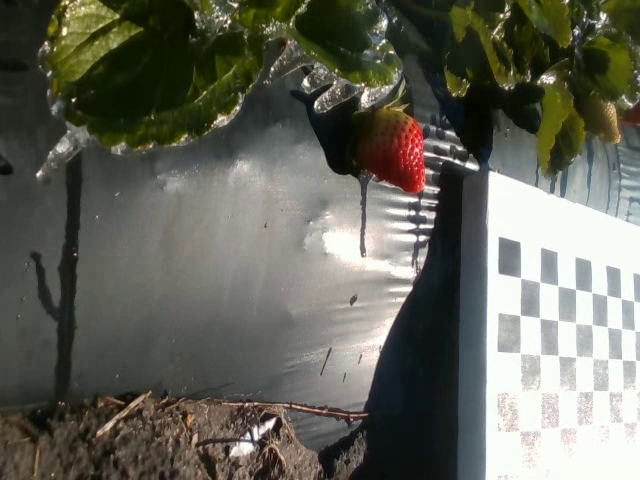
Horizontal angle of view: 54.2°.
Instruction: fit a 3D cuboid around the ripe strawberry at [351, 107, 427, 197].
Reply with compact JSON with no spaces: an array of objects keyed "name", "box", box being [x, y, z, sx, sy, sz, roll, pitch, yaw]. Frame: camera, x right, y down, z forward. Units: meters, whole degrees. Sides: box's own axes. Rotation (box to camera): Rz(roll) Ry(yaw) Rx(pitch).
[{"name":"ripe strawberry","box":[0.040,-0.044,0.318,0.039,0.053,0.040,-17,-10,-40]}]
